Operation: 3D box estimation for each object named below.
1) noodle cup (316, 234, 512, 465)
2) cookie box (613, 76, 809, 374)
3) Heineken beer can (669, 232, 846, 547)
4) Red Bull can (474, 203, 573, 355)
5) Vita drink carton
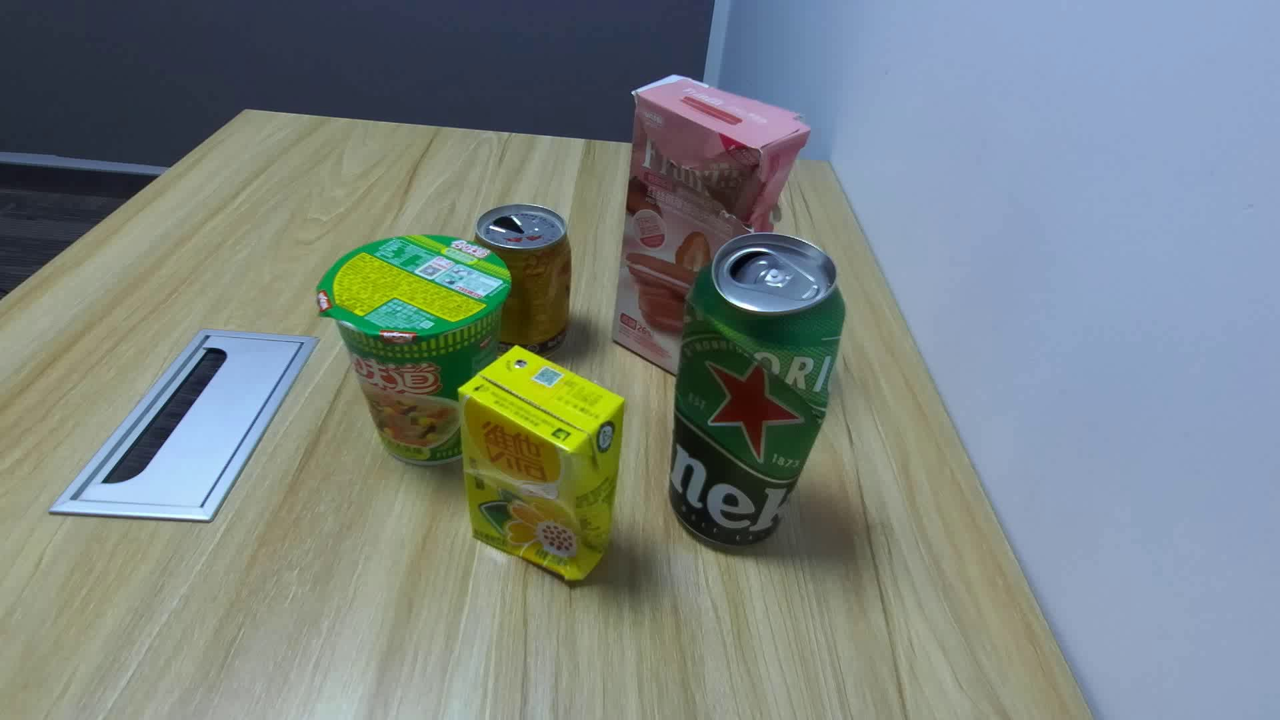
[{"bbox_3d":[-0.123,-0.001,0.407,0.097,0.110,0.097,4,41,-3],"label":"noodle cup"},{"bbox_3d":[0.038,-0.072,0.455,0.104,0.186,0.059,32,46,28],"label":"cookie box"},{"bbox_3d":[0.054,0.024,0.358,0.069,0.168,0.068,3,39,-2],"label":"Heineken beer can"},{"bbox_3d":[-0.082,-0.053,0.494,0.068,0.093,0.068,4,38,-3],"label":"Red Bull can"},{"bbox_3d":[-0.045,0.058,0.350,0.076,0.109,0.043,25,42,21],"label":"Vita drink carton"}]
